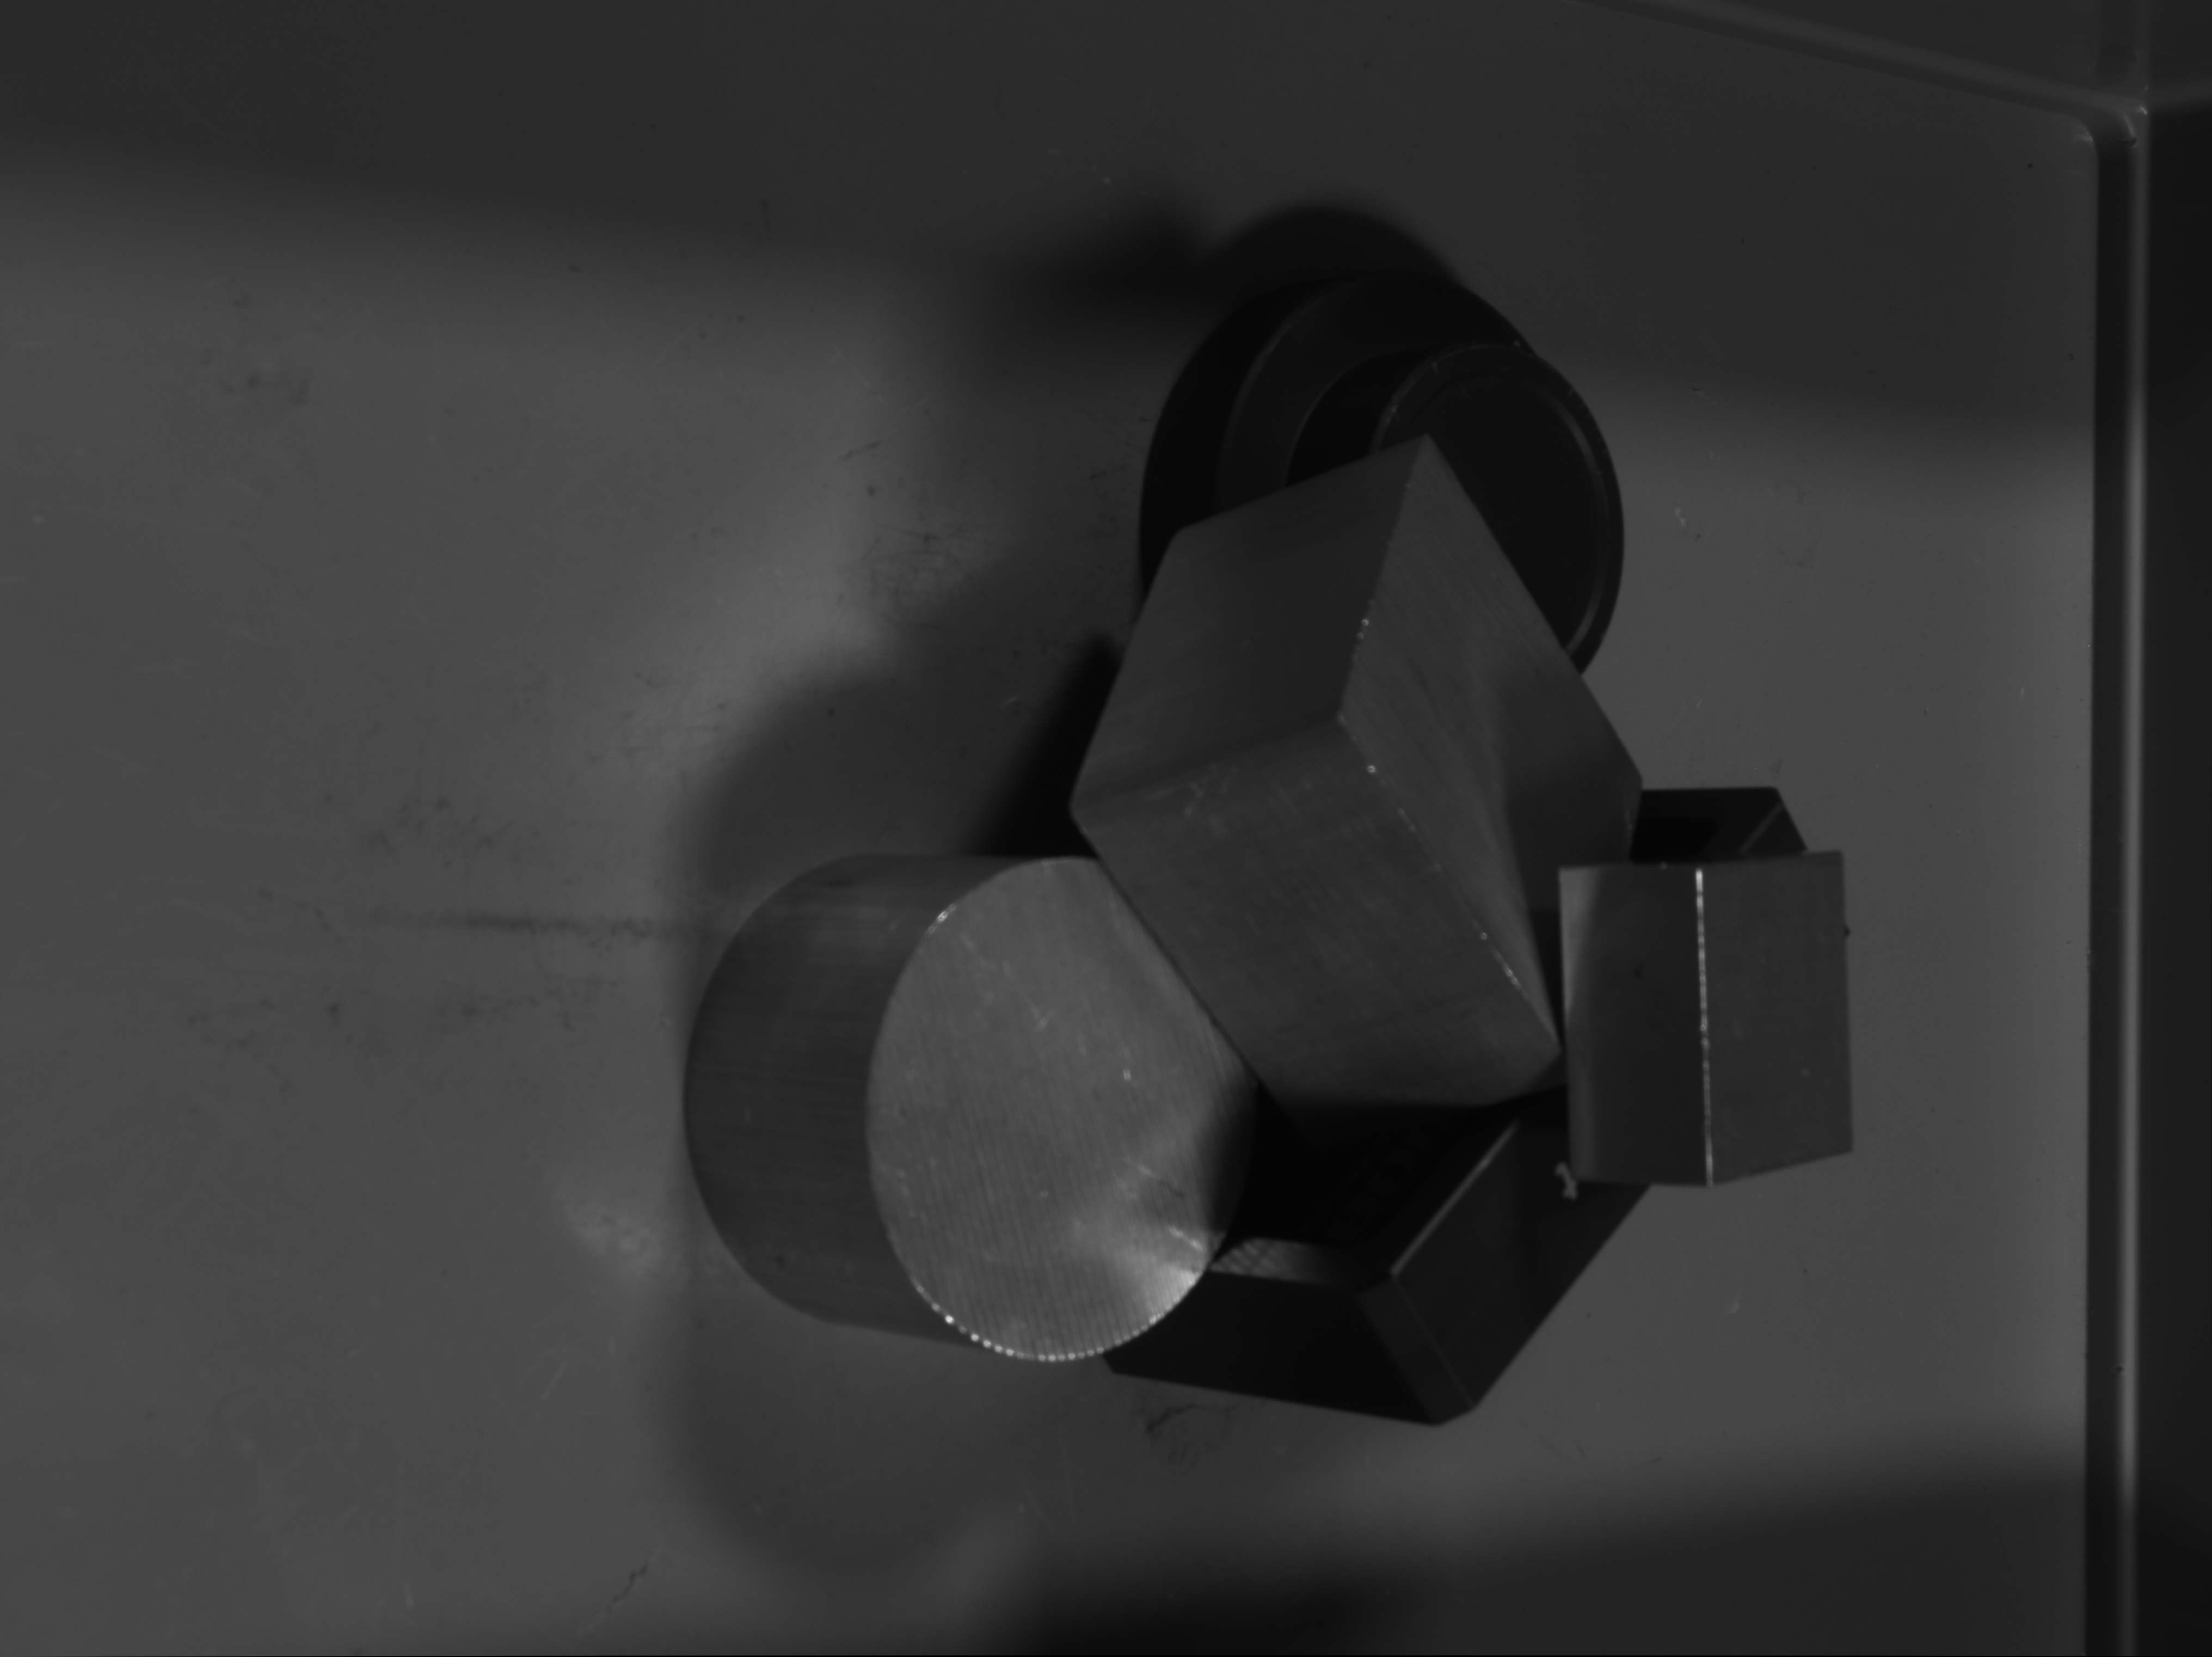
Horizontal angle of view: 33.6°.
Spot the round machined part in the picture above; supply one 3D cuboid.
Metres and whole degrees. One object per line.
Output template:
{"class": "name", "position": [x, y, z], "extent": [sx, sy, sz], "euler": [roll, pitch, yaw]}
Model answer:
{"class": "round machined part", "position": [0.057, -0.053, 0.672], "extent": [0.098, 0.042, 0.098], "euler": [0, 90, -40]}

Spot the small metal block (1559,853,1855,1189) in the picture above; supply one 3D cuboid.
{"class": "small metal block", "position": [0.098, 0.030, 0.594], "extent": [0.050, 0.025, 0.050], "euler": [-4, 92, -53]}

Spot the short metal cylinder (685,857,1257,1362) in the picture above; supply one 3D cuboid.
{"class": "short metal cylinder", "position": [-0.022, 0.045, 0.601], "extent": [0.080, 0.050, 0.080], "euler": [0, 90, -40]}

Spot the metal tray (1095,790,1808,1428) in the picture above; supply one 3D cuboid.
{"class": "metal tray", "position": [0.060, 0.045, 0.642], "extent": [0.130, 0.090, 0.030], "euler": [-46, 116, -31]}

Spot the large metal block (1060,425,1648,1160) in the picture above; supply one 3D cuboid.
{"class": "large metal block", "position": [0.044, -0.006, 0.610], "extent": [0.080, 0.050, 0.080], "euler": [54, 34, -26]}
